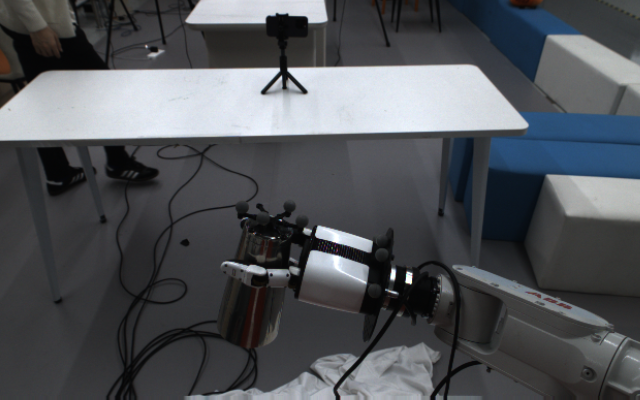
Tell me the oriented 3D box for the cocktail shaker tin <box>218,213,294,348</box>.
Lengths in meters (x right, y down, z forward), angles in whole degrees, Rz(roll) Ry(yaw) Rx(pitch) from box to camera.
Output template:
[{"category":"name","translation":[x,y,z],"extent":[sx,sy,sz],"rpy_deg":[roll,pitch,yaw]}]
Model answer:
[{"category":"cocktail shaker tin","translation":[-0.083,0.107,0.678],"extent":[0.093,0.170,0.093],"rpy_deg":[12,25,-6]}]
